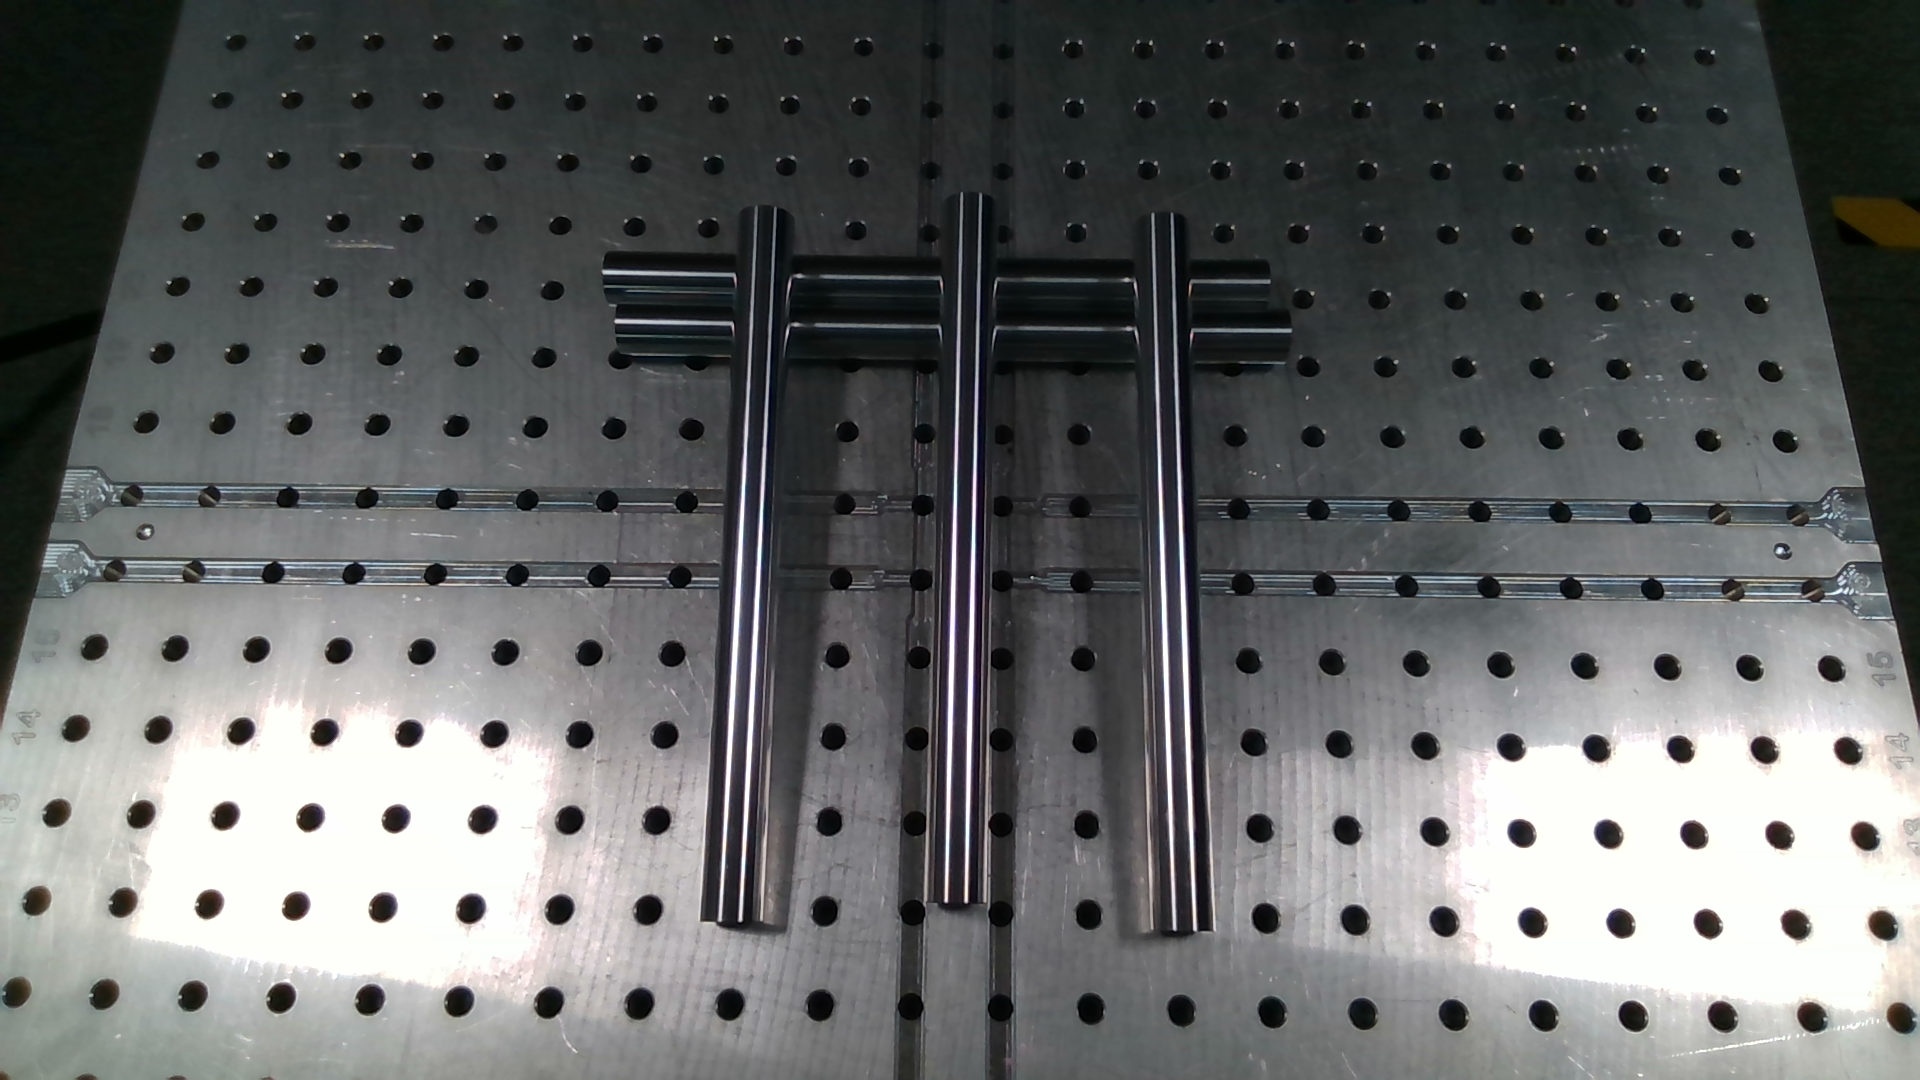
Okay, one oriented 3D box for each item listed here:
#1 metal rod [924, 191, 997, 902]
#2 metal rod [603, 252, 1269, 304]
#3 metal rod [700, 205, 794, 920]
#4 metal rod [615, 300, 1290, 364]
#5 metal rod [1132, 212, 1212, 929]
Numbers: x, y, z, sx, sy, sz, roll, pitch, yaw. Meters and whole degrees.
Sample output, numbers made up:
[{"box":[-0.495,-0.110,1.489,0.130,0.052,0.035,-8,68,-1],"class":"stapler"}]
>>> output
[{"box":[0.001,-0.003,0.576,0.025,0.025,0.299,1,76,0],"class":"metal rod"},{"box":[-0.011,-0.118,0.632,0.300,0.025,0.025,1,70,0],"class":"metal rod"},{"box":[-0.088,0.003,0.574,0.025,0.025,0.299,1,76,0],"class":"metal rod"},{"box":[-0.003,-0.094,0.624,0.300,0.025,0.025,1,70,0],"class":"metal rod"},{"box":[0.087,0.006,0.573,0.025,0.025,0.299,0,76,0],"class":"metal rod"}]
